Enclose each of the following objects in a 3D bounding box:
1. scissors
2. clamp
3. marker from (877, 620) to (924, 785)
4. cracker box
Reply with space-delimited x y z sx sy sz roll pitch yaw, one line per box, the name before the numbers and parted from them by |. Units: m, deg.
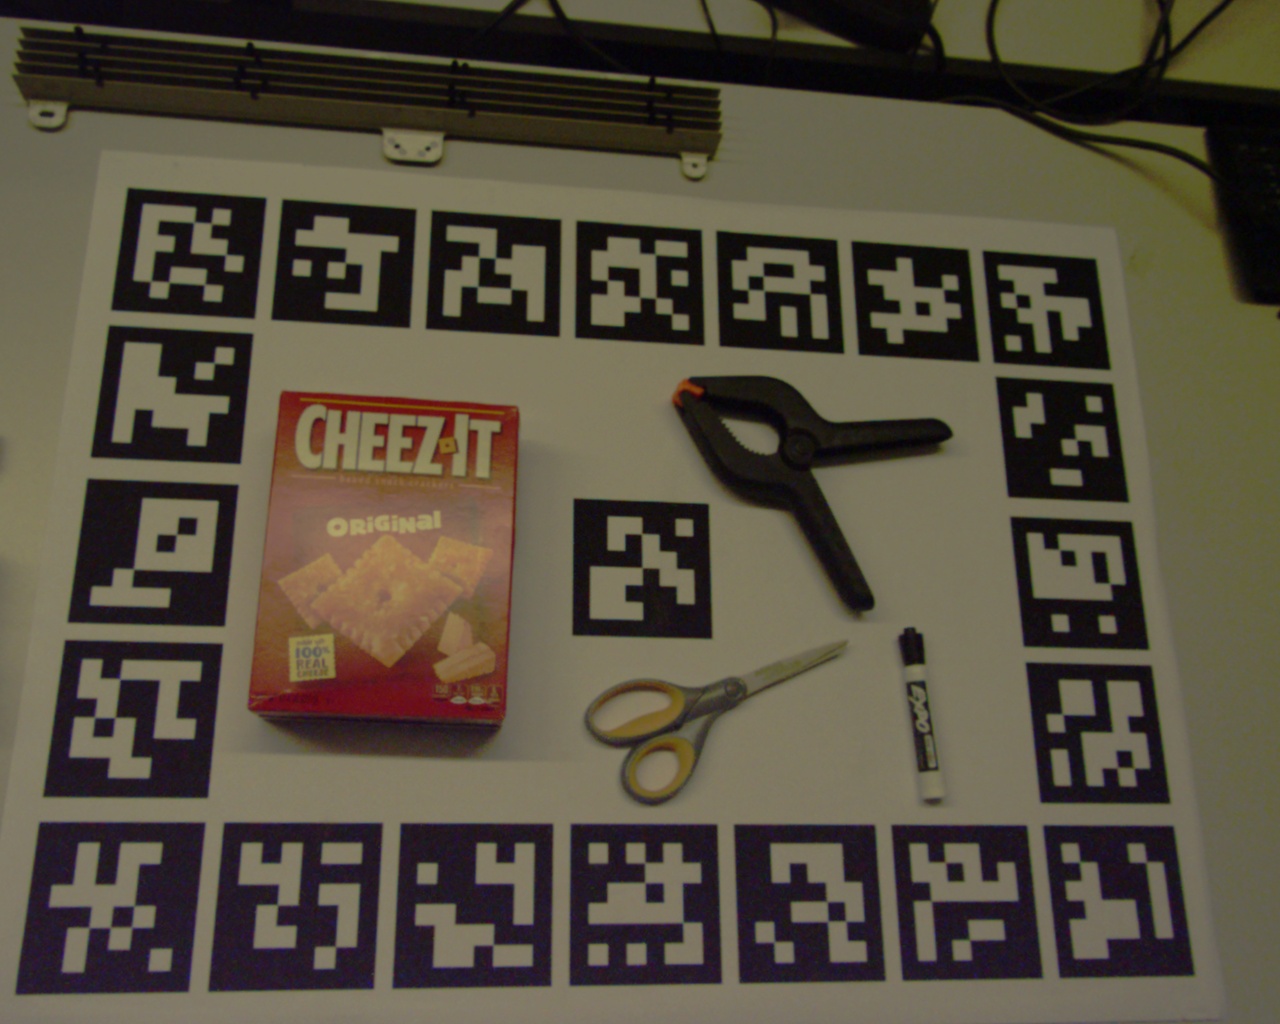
scissors | 0.053 0.131 0.833 0.201 0.016 0.088 -27 77 -17
clamp | 0.099 -0.046 0.899 0.203 0.037 0.165 31 70 1
marker | 0.194 0.141 0.849 0.019 0.020 0.121 -2 73 -9
cracker box | -0.173 0.038 0.802 0.163 0.072 0.214 3 73 -7
